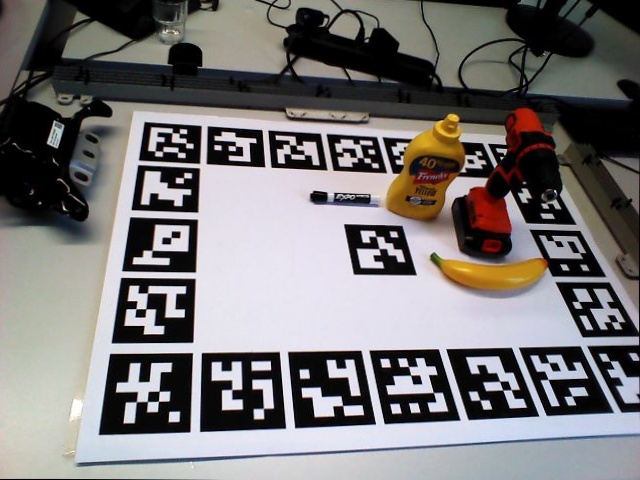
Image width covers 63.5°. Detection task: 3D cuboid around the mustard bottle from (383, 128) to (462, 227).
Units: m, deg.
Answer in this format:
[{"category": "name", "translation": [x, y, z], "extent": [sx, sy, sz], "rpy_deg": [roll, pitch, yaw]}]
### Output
[{"category": "mustard bottle", "translation": [0.173, -0.101, 0.834], "extent": [0.096, 0.192, 0.058], "rpy_deg": [11, 50, -5]}]

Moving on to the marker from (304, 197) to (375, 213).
[{"category": "marker", "translation": [0.033, -0.060, 0.884], "extent": [0.121, 0.020, 0.019], "rpy_deg": [3, 52, -9]}]

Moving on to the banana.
[{"category": "banana", "translation": [0.267, 0.070, 0.820], "extent": [0.197, 0.039, 0.074], "rpy_deg": [7, 52, -4]}]

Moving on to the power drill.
[{"category": "power drill", "translation": [0.285, -0.058, 0.801], "extent": [0.057, 0.188, 0.183], "rpy_deg": [13, 48, -4]}]
